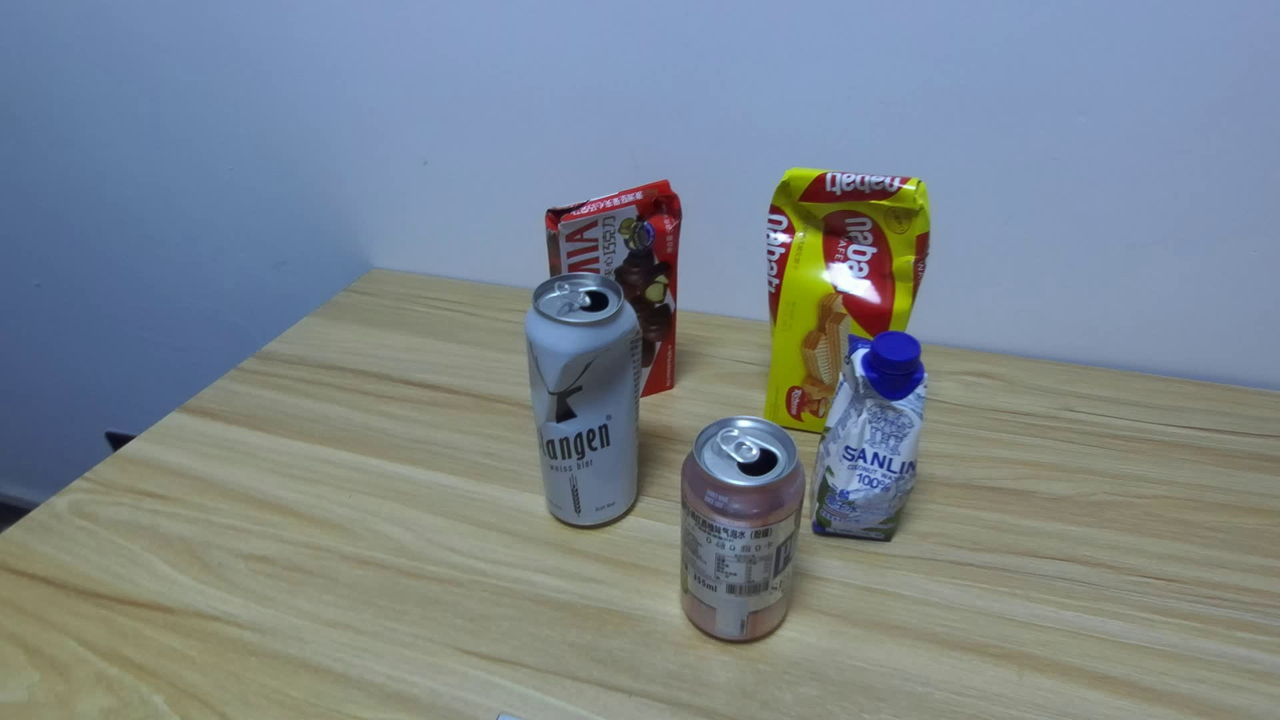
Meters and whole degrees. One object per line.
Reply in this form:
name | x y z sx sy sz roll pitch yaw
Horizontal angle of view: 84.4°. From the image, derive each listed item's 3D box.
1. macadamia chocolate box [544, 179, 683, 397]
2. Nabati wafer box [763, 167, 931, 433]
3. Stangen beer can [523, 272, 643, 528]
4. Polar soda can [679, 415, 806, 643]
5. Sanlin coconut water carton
macadamia chocolate box | -0.016 -0.045 0.557 0.103 0.187 0.027 -15 39 -17
Nabati wafer box | 0.145 -0.035 0.519 0.113 0.205 0.042 8 33 16
Stangen beer can | -0.035 0.030 0.459 0.070 0.173 0.069 7 35 13
Polar soda can | 0.056 0.096 0.397 0.067 0.126 0.067 -1 34 1
Sanlin coconut water carton | 0.152 0.044 0.456 0.057 0.144 0.068 8 27 3
